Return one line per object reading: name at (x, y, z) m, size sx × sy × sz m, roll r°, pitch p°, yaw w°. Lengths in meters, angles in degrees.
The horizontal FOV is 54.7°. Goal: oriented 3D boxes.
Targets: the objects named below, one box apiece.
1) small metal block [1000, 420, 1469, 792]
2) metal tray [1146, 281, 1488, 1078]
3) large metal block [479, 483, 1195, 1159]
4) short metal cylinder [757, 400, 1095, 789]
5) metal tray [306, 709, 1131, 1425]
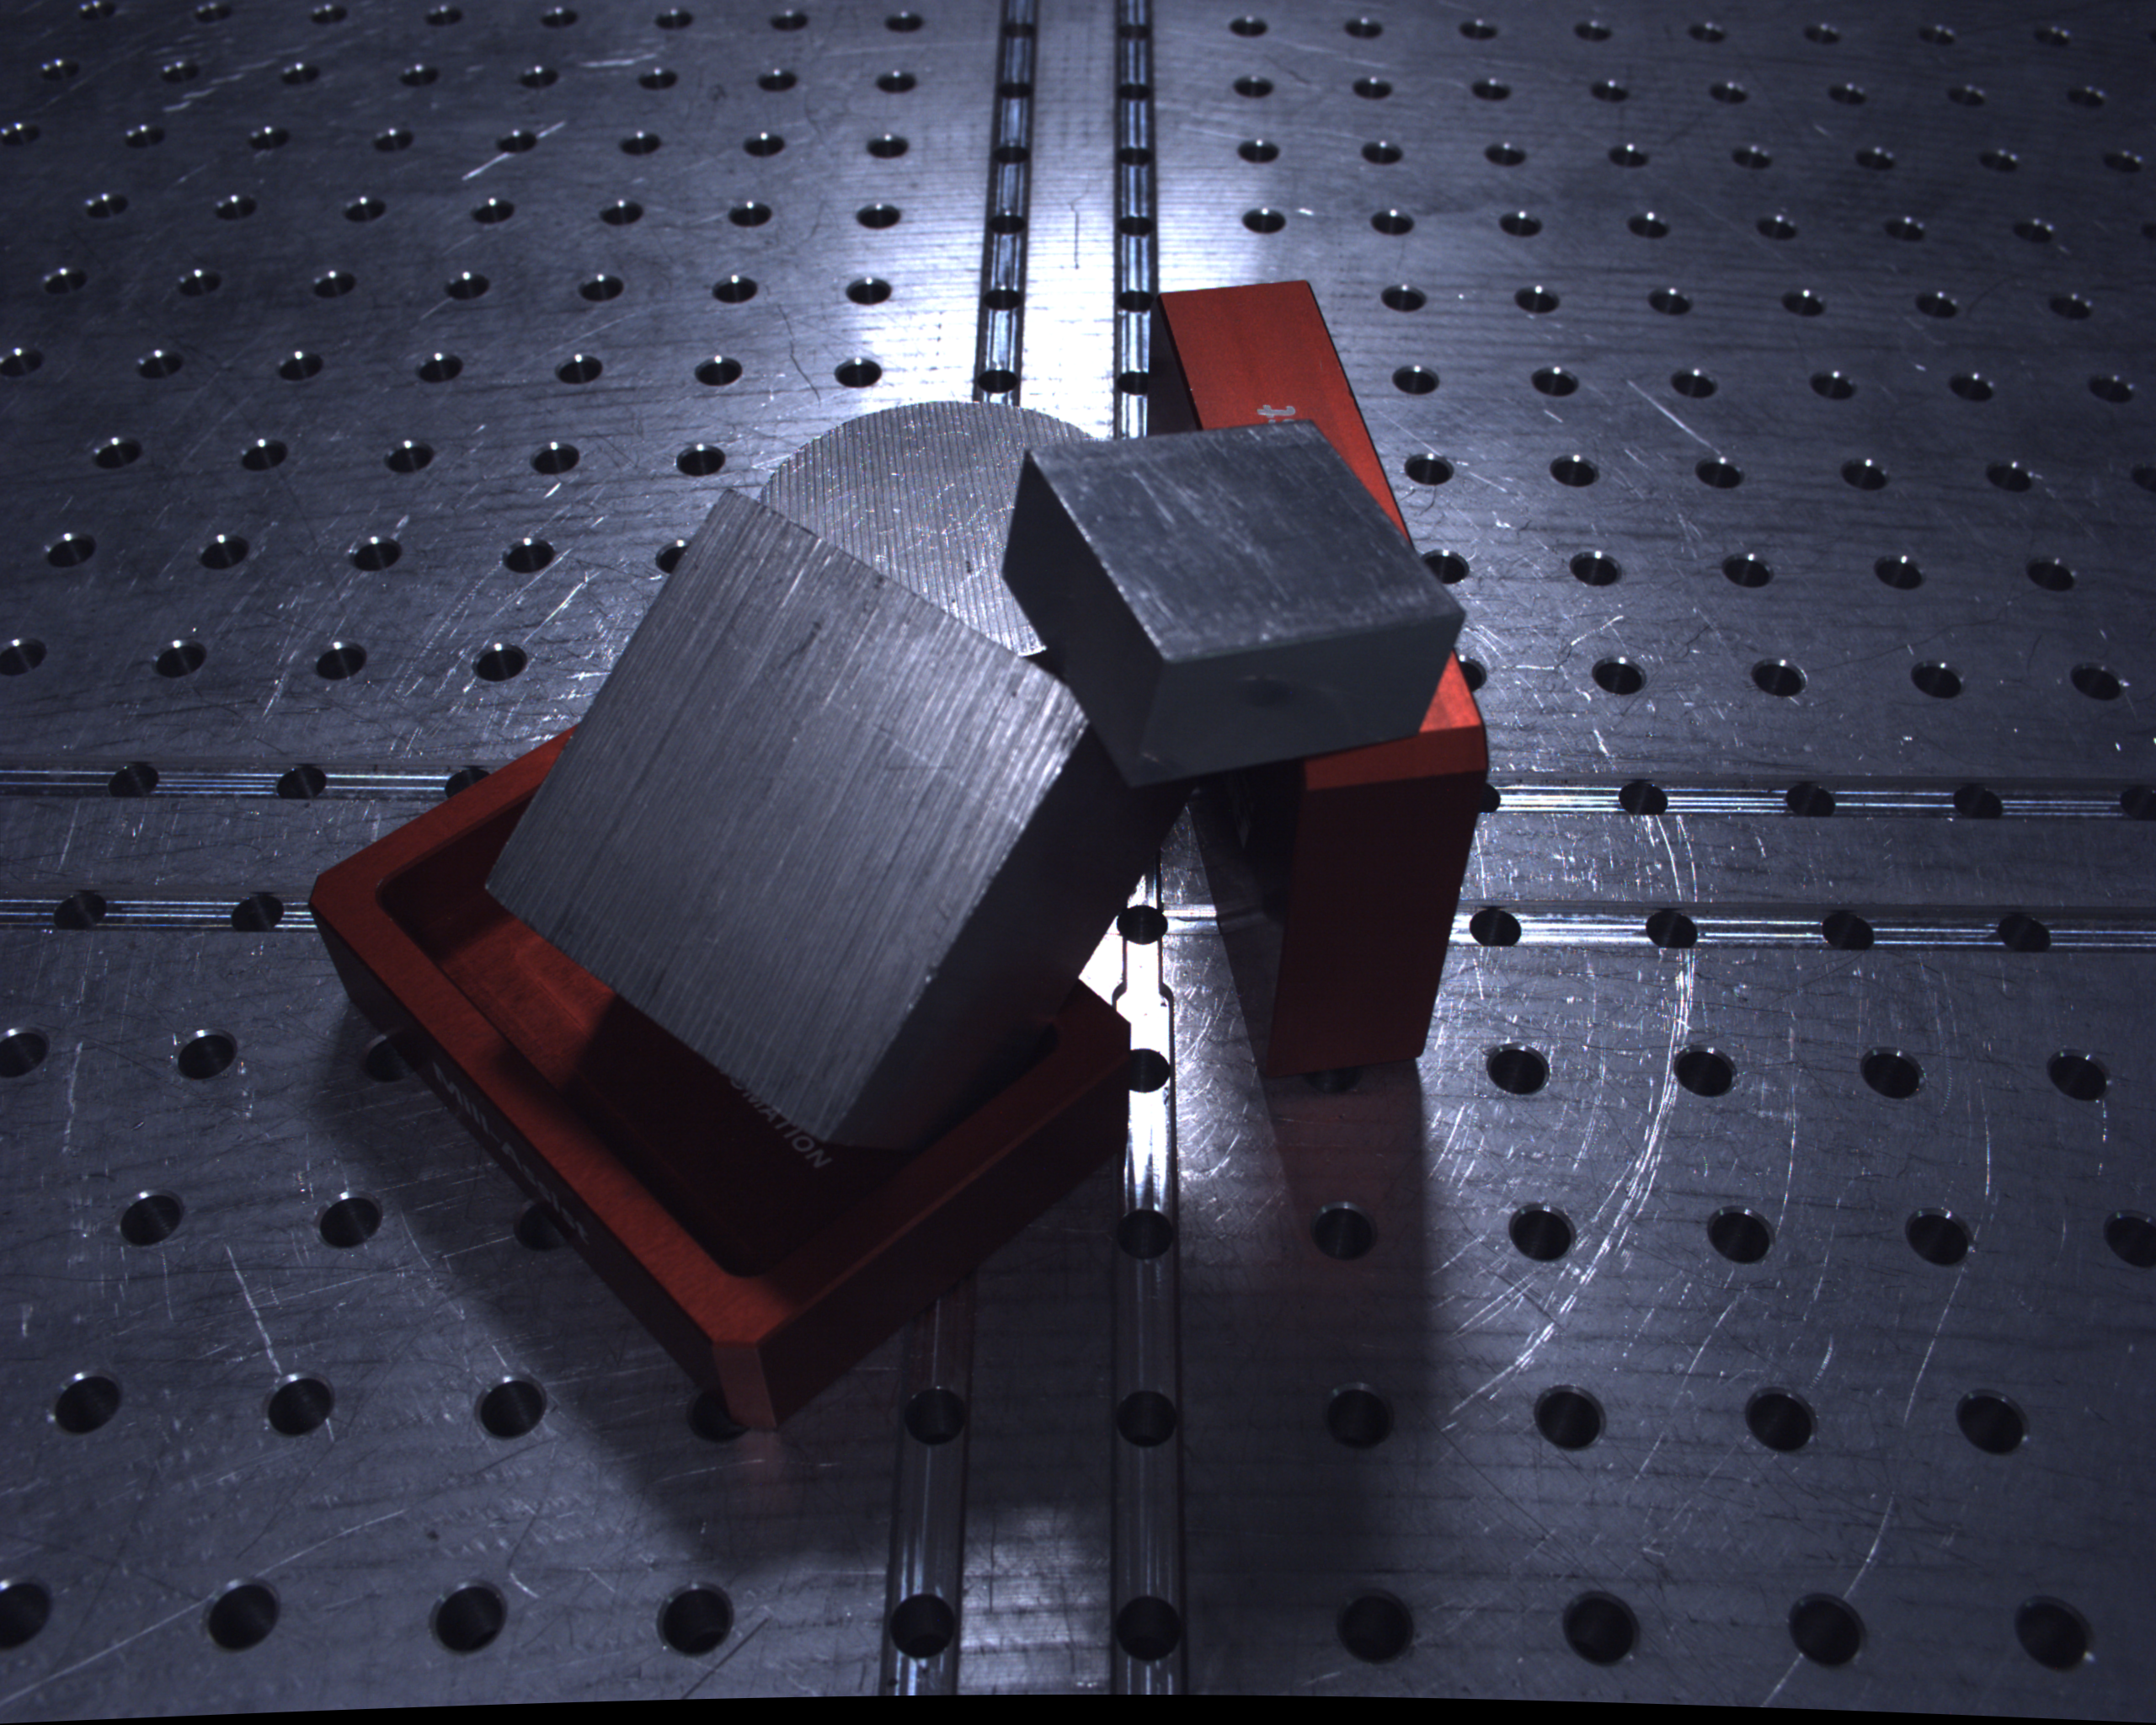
small metal block at (0.023, -0.041, 0.320) m, size 0.050 × 0.025 × 0.050 m, roll -11°, pitch 51°, yaw -24°
metal tray at (0.039, -0.036, 0.396) m, size 0.030 × 0.089 × 0.130 m, roll -7°, pitch 51°, yaw -6°
large metal block at (-0.039, -0.005, 0.355) m, size 0.080 × 0.050 × 0.080 m, roll 32°, pitch 92°, yaw 23°
short metal cylinder at (-0.026, -0.051, 0.434) m, size 0.081 × 0.050 × 0.080 m, roll 0°, pitch 50°, yaw 0°
metal tray at (-0.065, 0.026, 0.380) m, size 0.091 × 0.030 × 0.130 m, roll -36°, pitch 59°, yaw -27°
